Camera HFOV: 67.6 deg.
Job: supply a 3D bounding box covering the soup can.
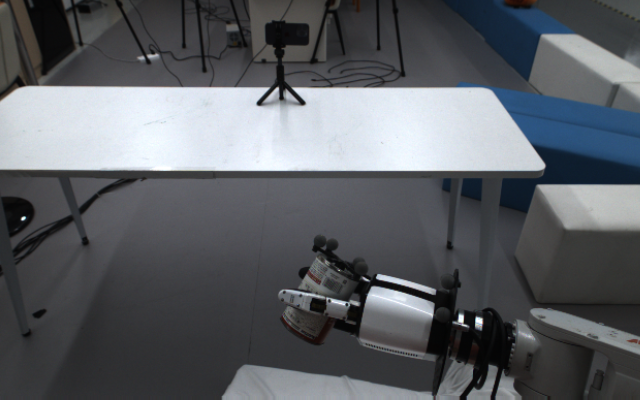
[{"bbox_3d":[0.003,0.131,0.642,0.067,0.101,0.067,30,2,-1],"label":"soup can"}]
